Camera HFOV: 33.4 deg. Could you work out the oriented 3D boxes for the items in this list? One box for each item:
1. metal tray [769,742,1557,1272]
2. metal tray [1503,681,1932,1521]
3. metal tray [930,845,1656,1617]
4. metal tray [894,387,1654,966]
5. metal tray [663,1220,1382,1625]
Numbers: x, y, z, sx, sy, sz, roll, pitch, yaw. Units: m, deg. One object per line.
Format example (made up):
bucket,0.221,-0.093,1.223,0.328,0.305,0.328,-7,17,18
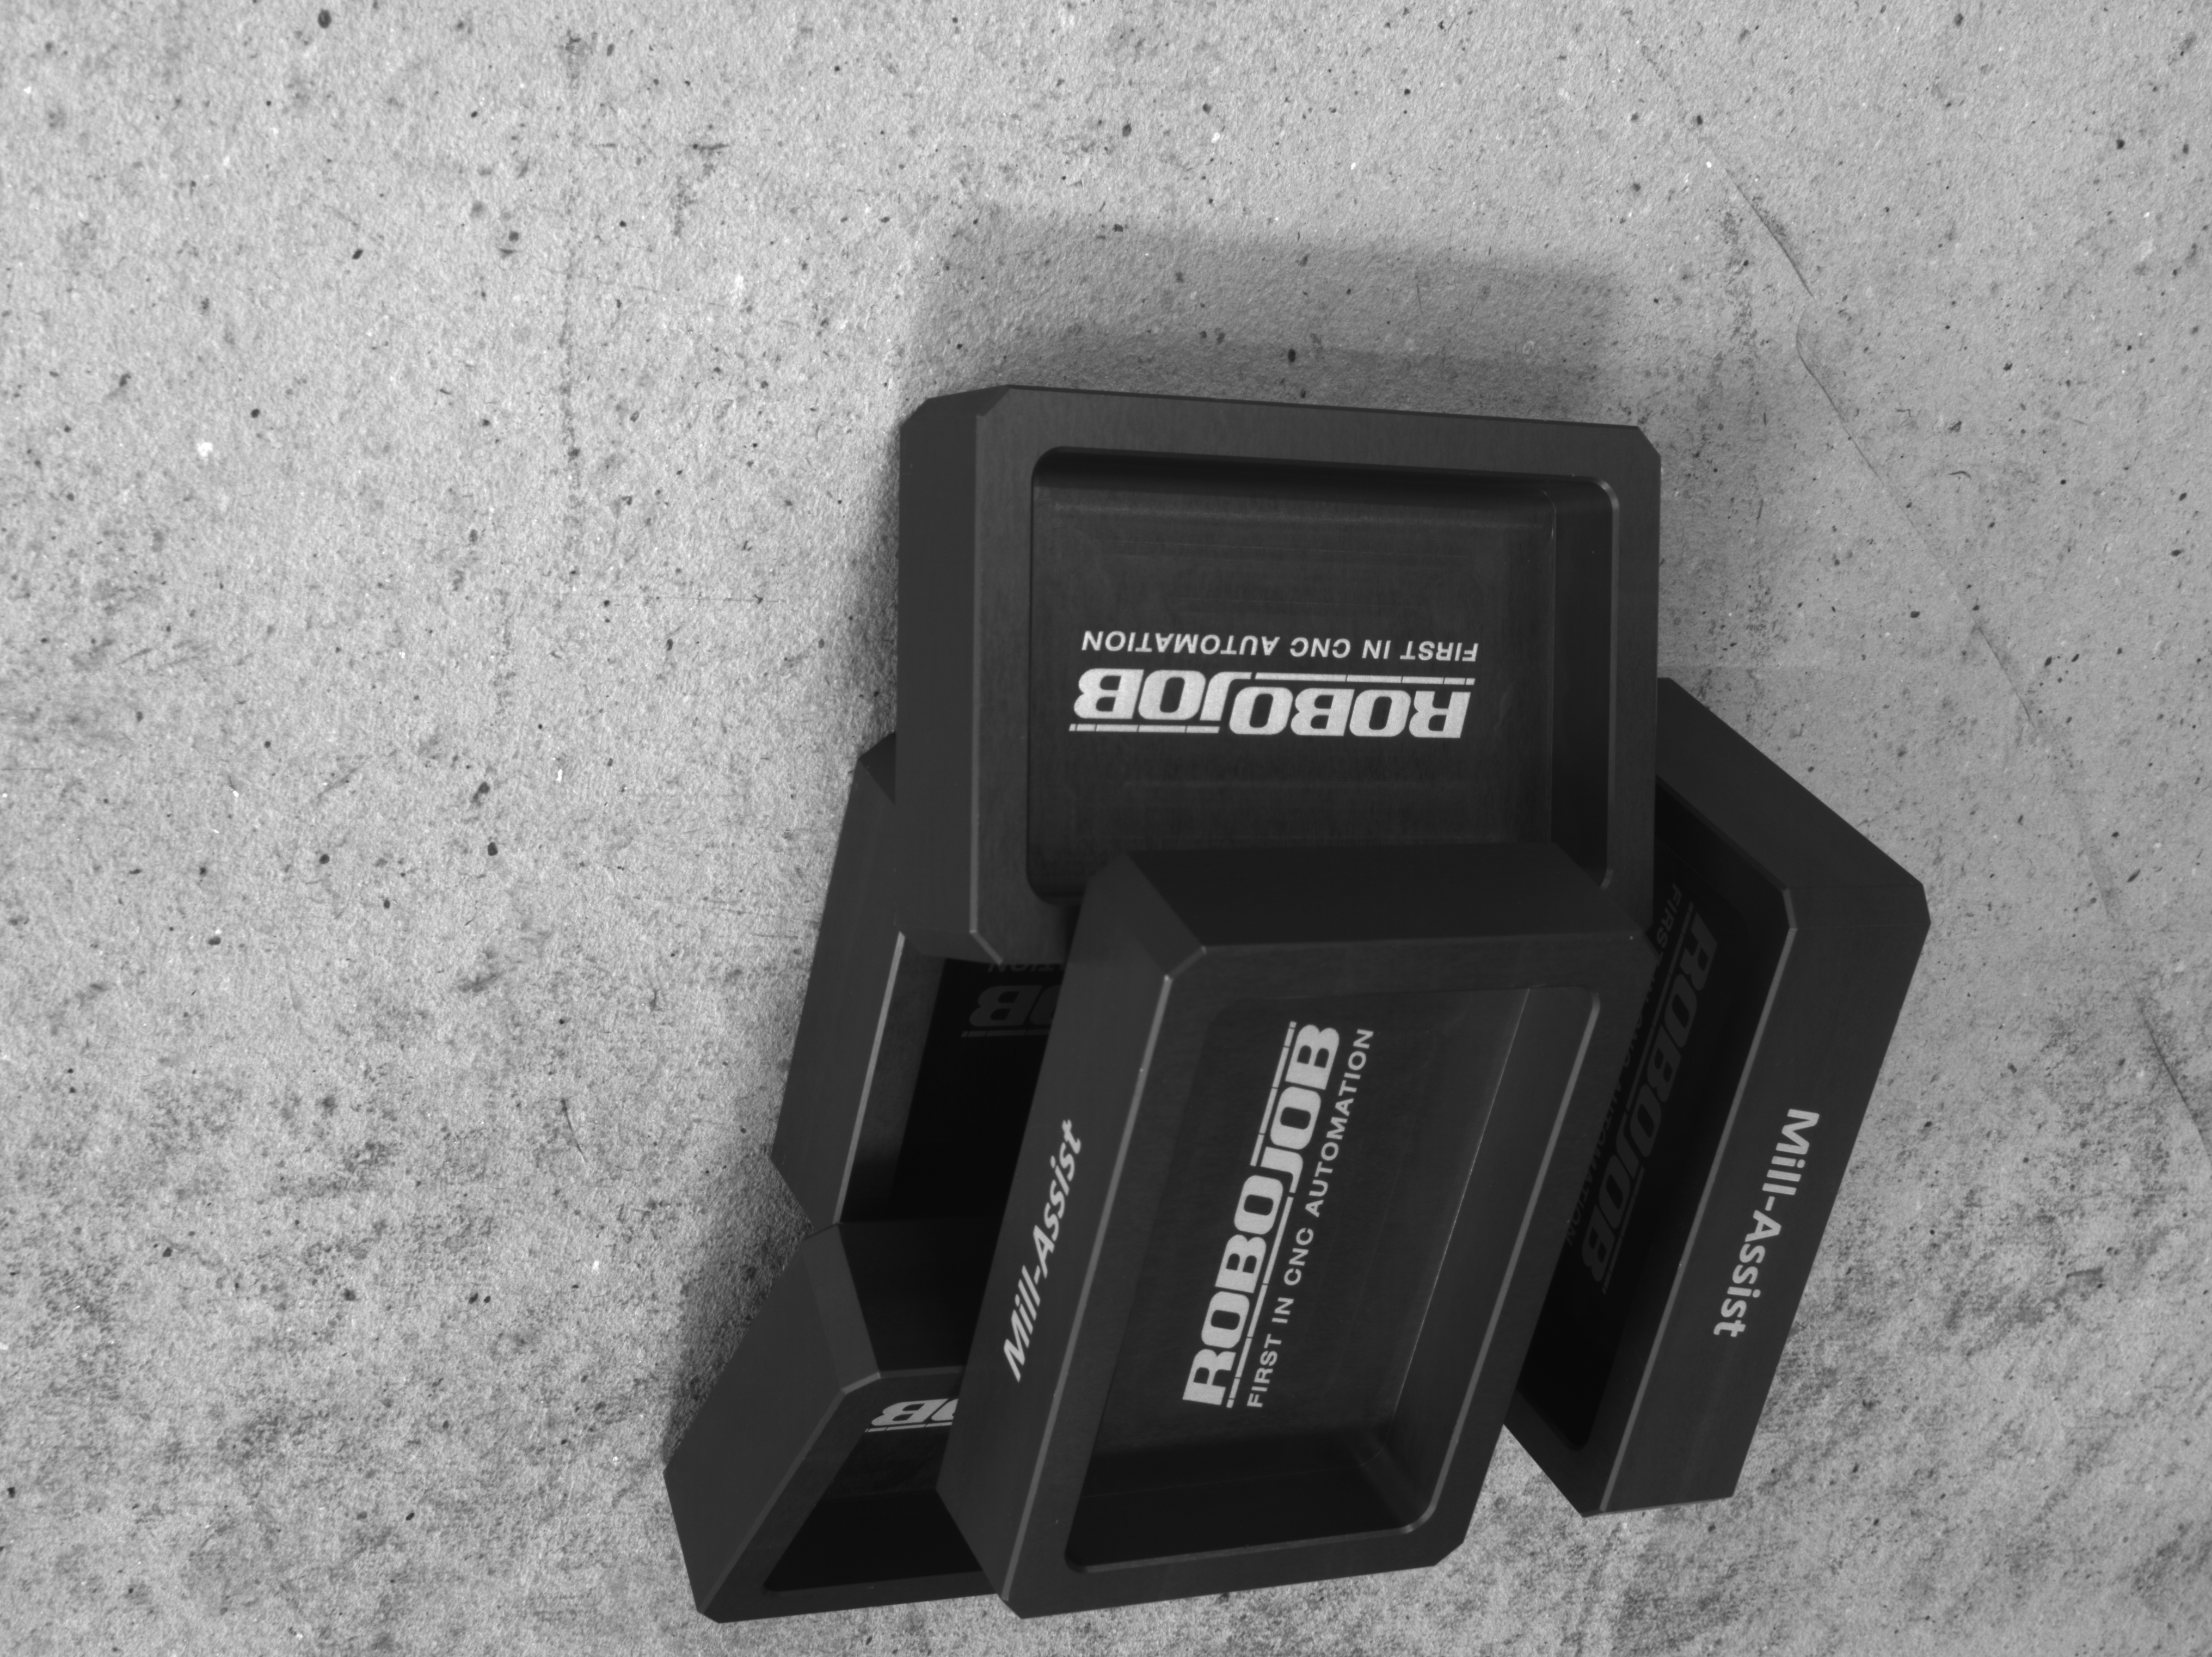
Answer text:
metal tray,0.012,0.031,0.657,0.130,0.030,0.090,-1,120,-28
metal tray,0.096,0.049,0.676,0.030,0.090,0.130,-1,119,-28
metal tray,0.029,0.066,0.607,0.090,0.030,0.130,-1,121,-27
metal tray,0.030,-0.024,0.613,0.130,0.030,0.090,0,92,-28
metal tray,-0.005,0.106,0.674,0.130,0.030,0.090,0,143,-28
